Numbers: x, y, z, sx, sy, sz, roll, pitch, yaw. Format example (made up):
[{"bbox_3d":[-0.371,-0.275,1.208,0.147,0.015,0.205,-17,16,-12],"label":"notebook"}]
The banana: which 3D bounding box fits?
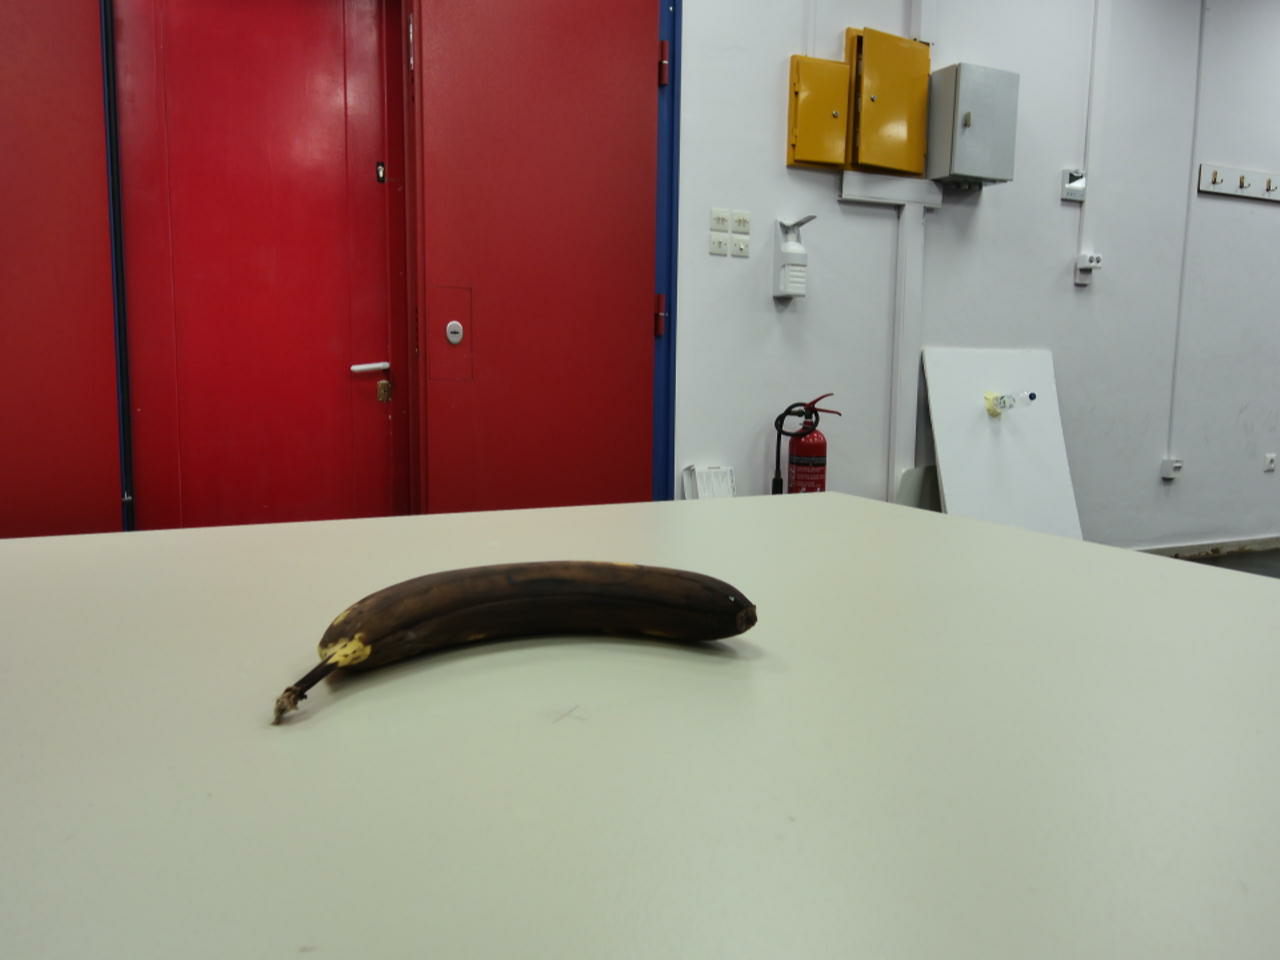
[{"bbox_3d":[-0.051,0.055,0.402,0.188,0.033,0.091,-2,4,-25],"label":"banana"}]
